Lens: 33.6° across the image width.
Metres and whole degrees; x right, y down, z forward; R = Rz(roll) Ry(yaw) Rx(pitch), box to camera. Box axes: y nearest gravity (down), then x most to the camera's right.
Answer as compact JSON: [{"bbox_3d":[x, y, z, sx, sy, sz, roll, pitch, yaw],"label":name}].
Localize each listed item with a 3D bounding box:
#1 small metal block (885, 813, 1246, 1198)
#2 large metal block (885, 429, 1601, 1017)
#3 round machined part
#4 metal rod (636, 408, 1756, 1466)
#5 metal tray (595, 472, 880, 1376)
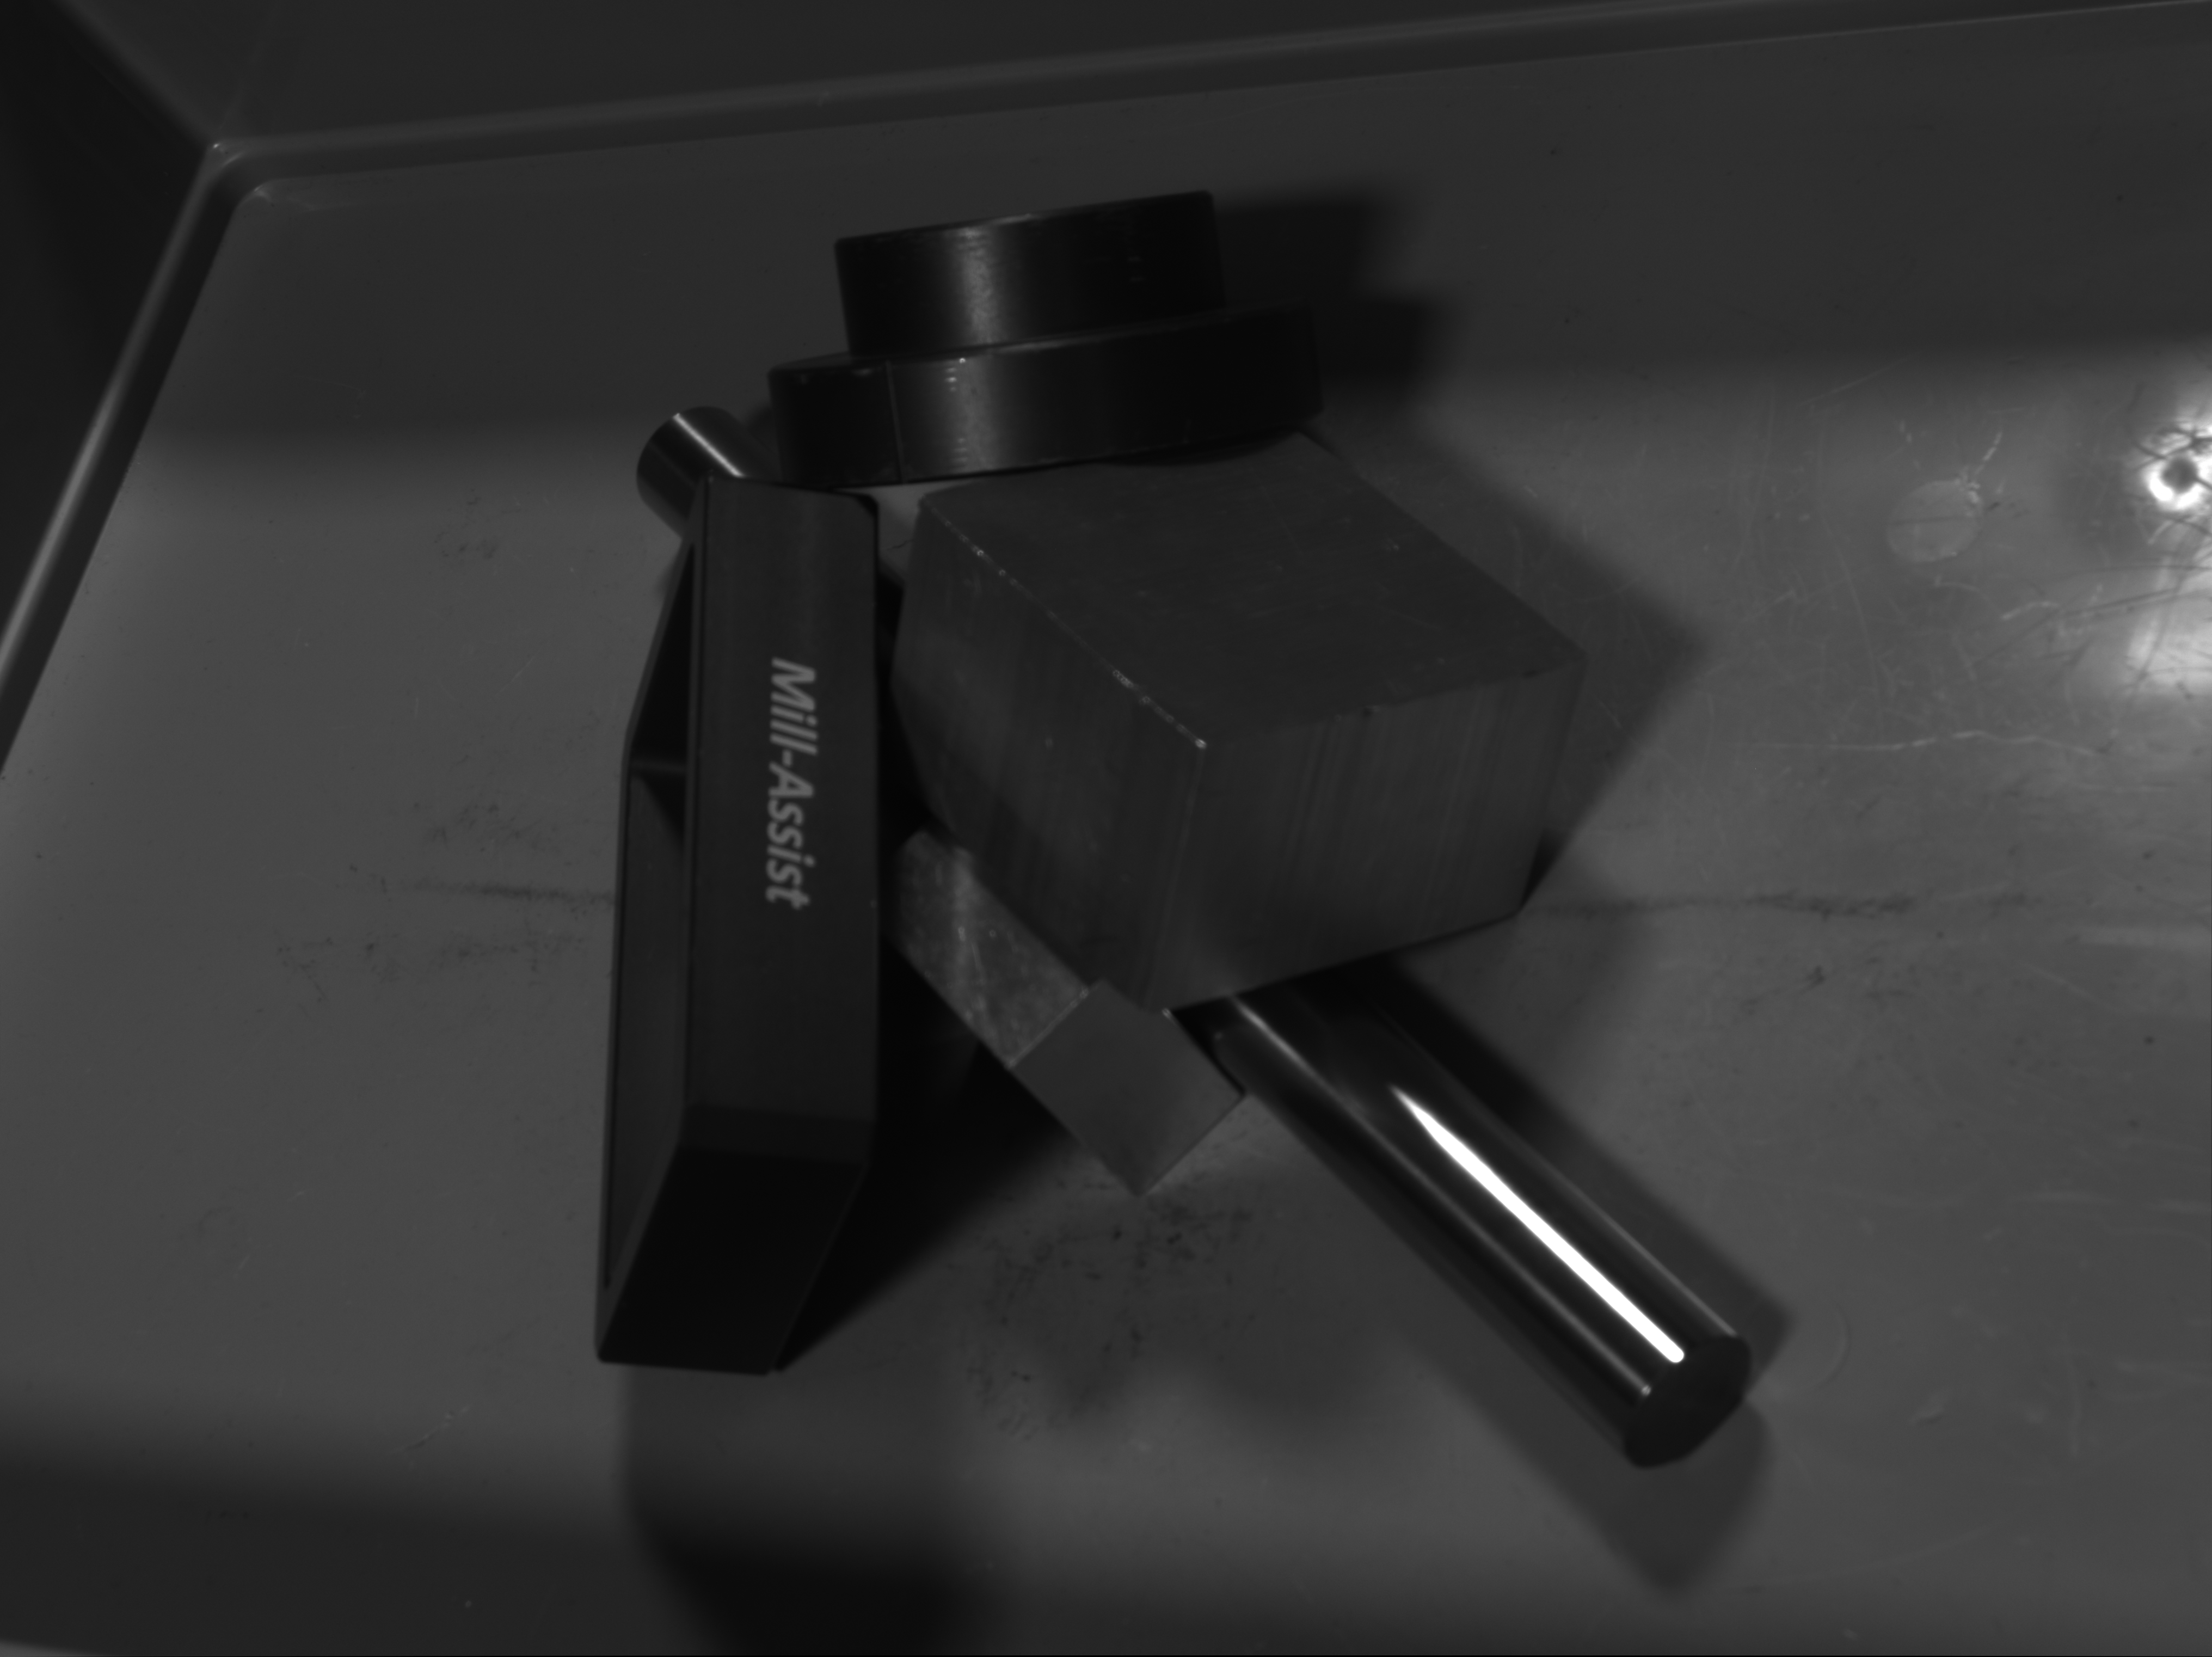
[{"bbox_3d":[-0.009,0.028,0.614,0.025,0.050,0.050,-44,51,-2],"label":"small metal block"},{"bbox_3d":[0.020,-0.020,0.603,0.080,0.050,0.080,-13,40,-34],"label":"large metal block"},{"bbox_3d":[-0.012,-0.089,0.655,0.098,0.098,0.042,-2,101,28],"label":"round machined part"},{"bbox_3d":[0.002,0.006,0.638,0.025,0.025,0.299,-45,51,-3],"label":"metal rod"},{"bbox_3d":[-0.063,0.016,0.627,0.030,0.090,0.130,7,56,-14],"label":"metal tray"}]
